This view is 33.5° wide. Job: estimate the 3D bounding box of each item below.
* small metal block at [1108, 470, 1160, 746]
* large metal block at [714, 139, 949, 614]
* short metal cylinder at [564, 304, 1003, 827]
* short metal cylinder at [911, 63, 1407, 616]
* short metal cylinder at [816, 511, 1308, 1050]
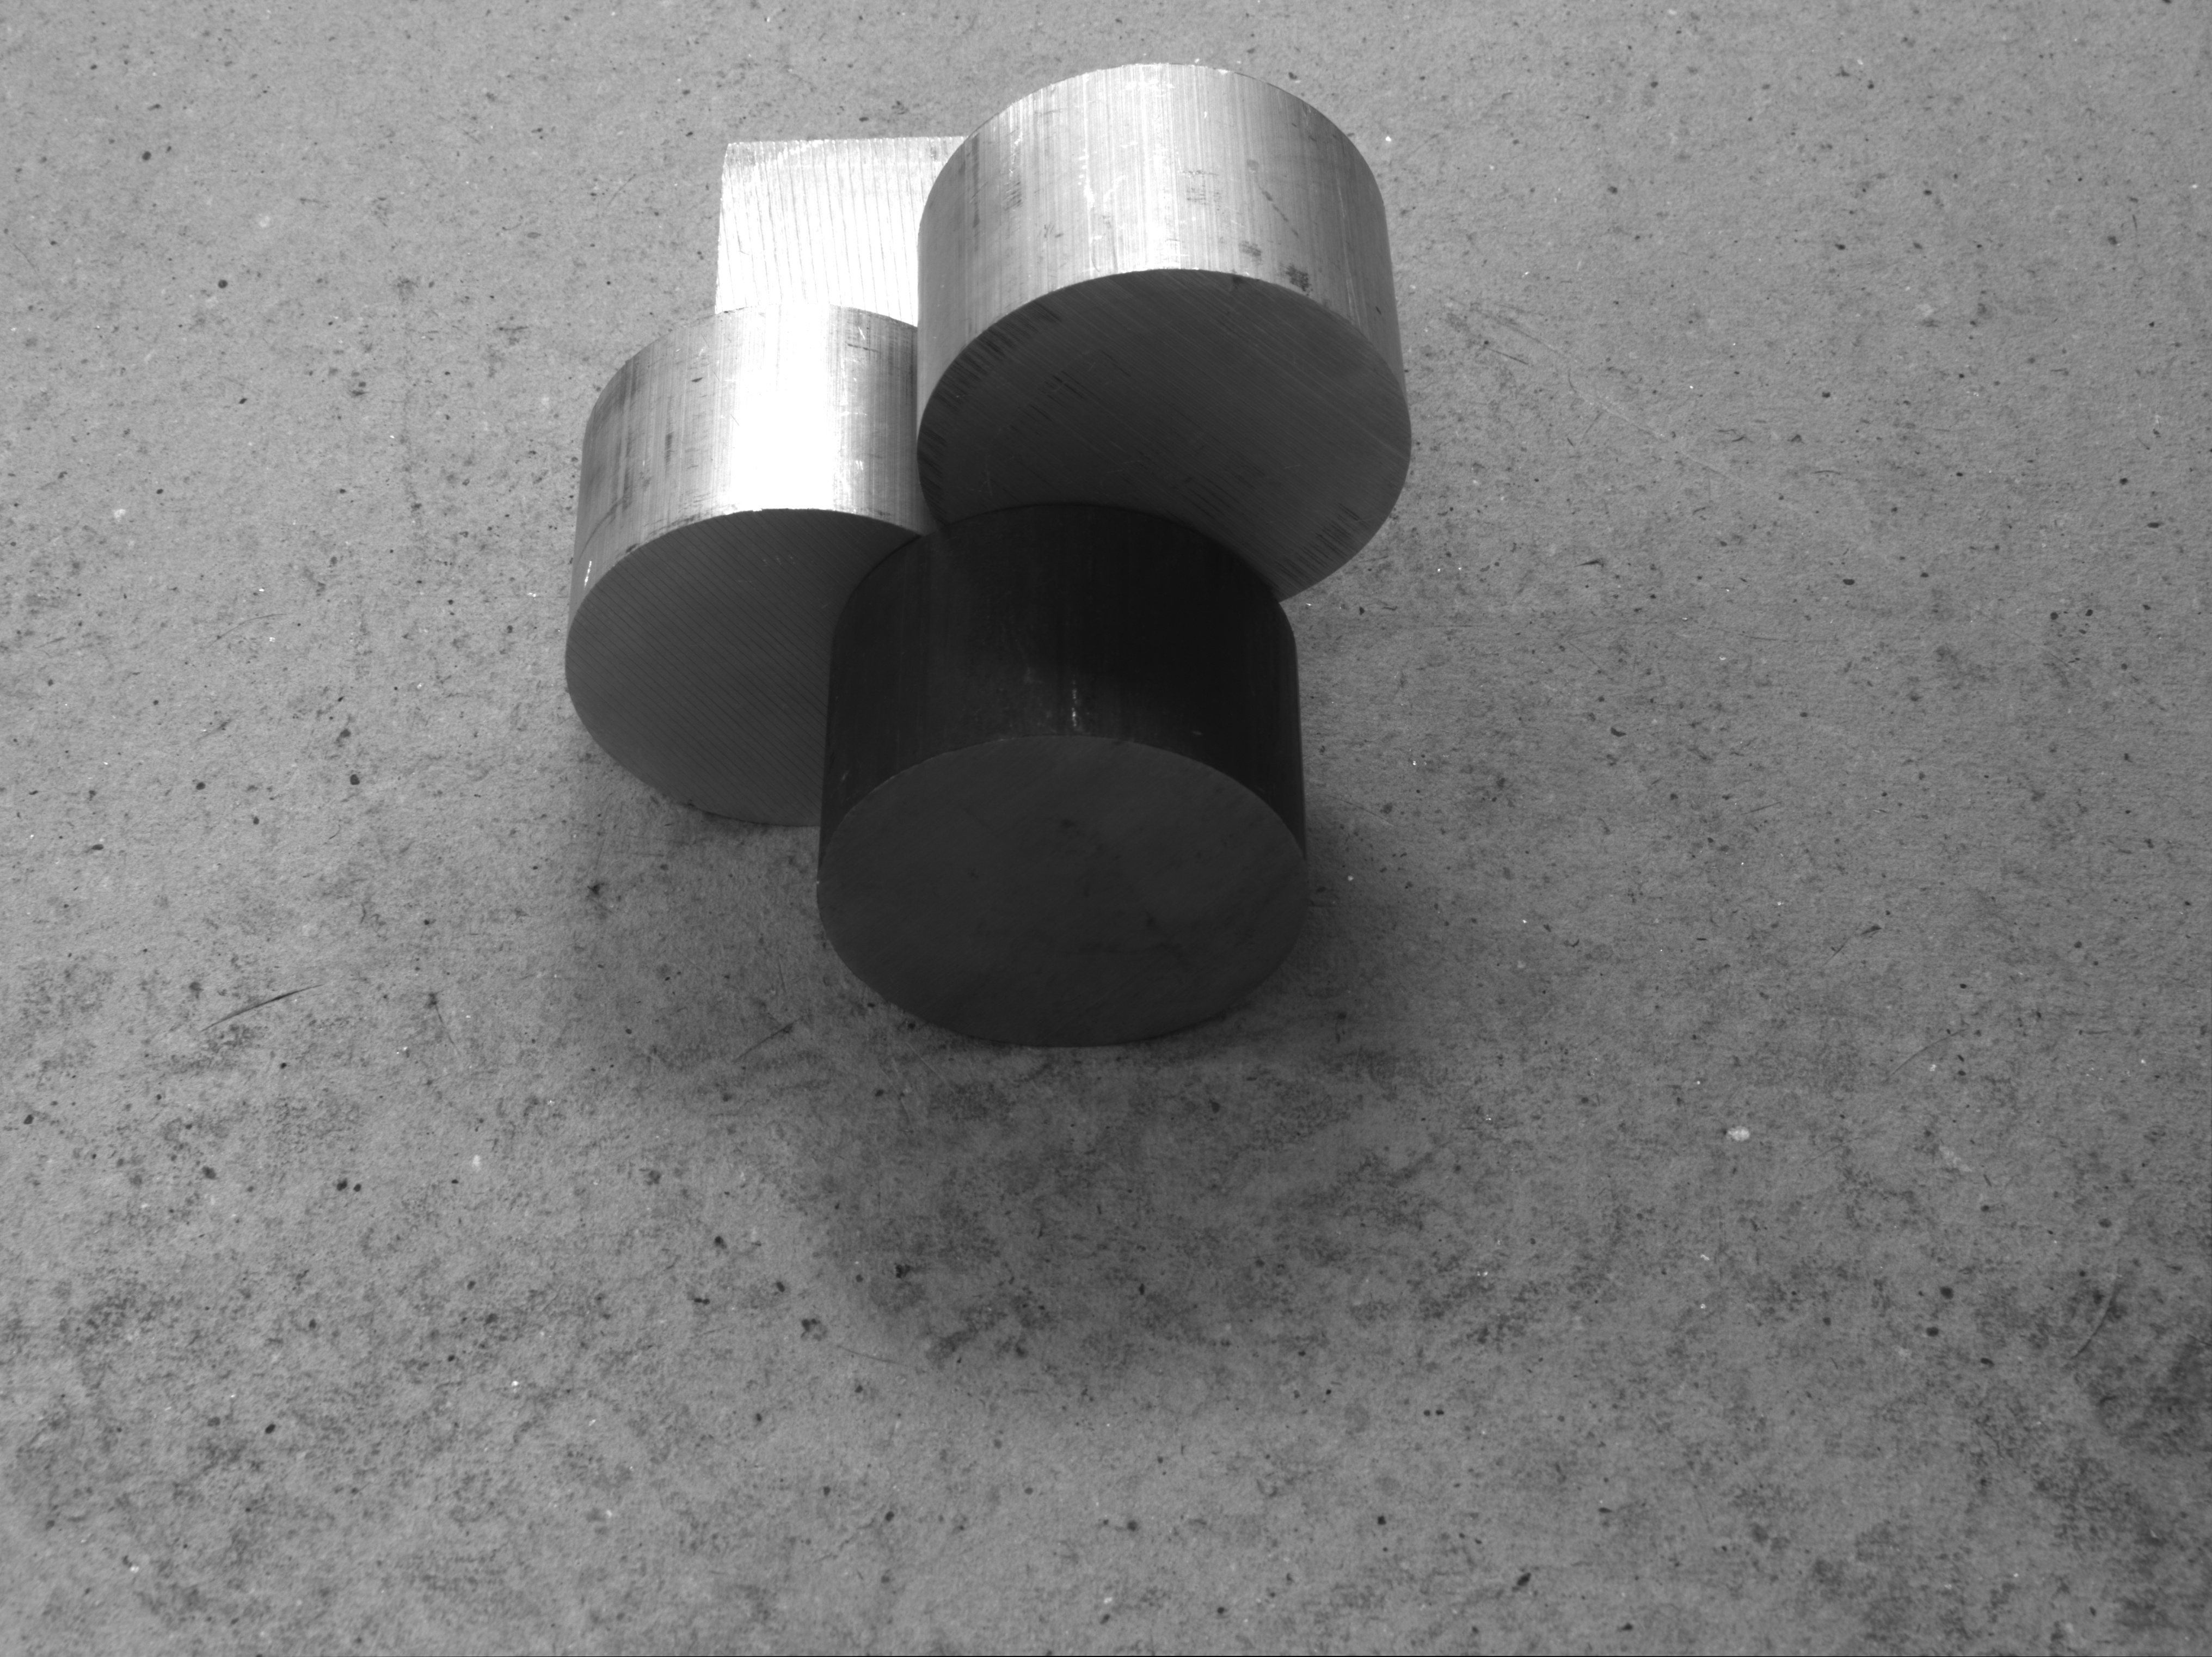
[{"bbox_3d":[0.012,-0.035,0.659,0.025,0.050,0.050,1,50,1],"label":"small metal block"},{"bbox_3d":[-0.032,-0.086,0.700,0.080,0.050,0.080,-1,50,-1],"label":"large metal block"},{"bbox_3d":[-0.053,-0.045,0.646,0.080,0.080,0.050,-2,50,-1],"label":"short metal cylinder"},{"bbox_3d":[0.008,-0.079,0.609,0.080,0.080,0.050,-2,50,-1],"label":"short metal cylinder"},{"bbox_3d":[-0.007,-0.007,0.614,0.080,0.080,0.050,0,50,0],"label":"short metal cylinder"}]
